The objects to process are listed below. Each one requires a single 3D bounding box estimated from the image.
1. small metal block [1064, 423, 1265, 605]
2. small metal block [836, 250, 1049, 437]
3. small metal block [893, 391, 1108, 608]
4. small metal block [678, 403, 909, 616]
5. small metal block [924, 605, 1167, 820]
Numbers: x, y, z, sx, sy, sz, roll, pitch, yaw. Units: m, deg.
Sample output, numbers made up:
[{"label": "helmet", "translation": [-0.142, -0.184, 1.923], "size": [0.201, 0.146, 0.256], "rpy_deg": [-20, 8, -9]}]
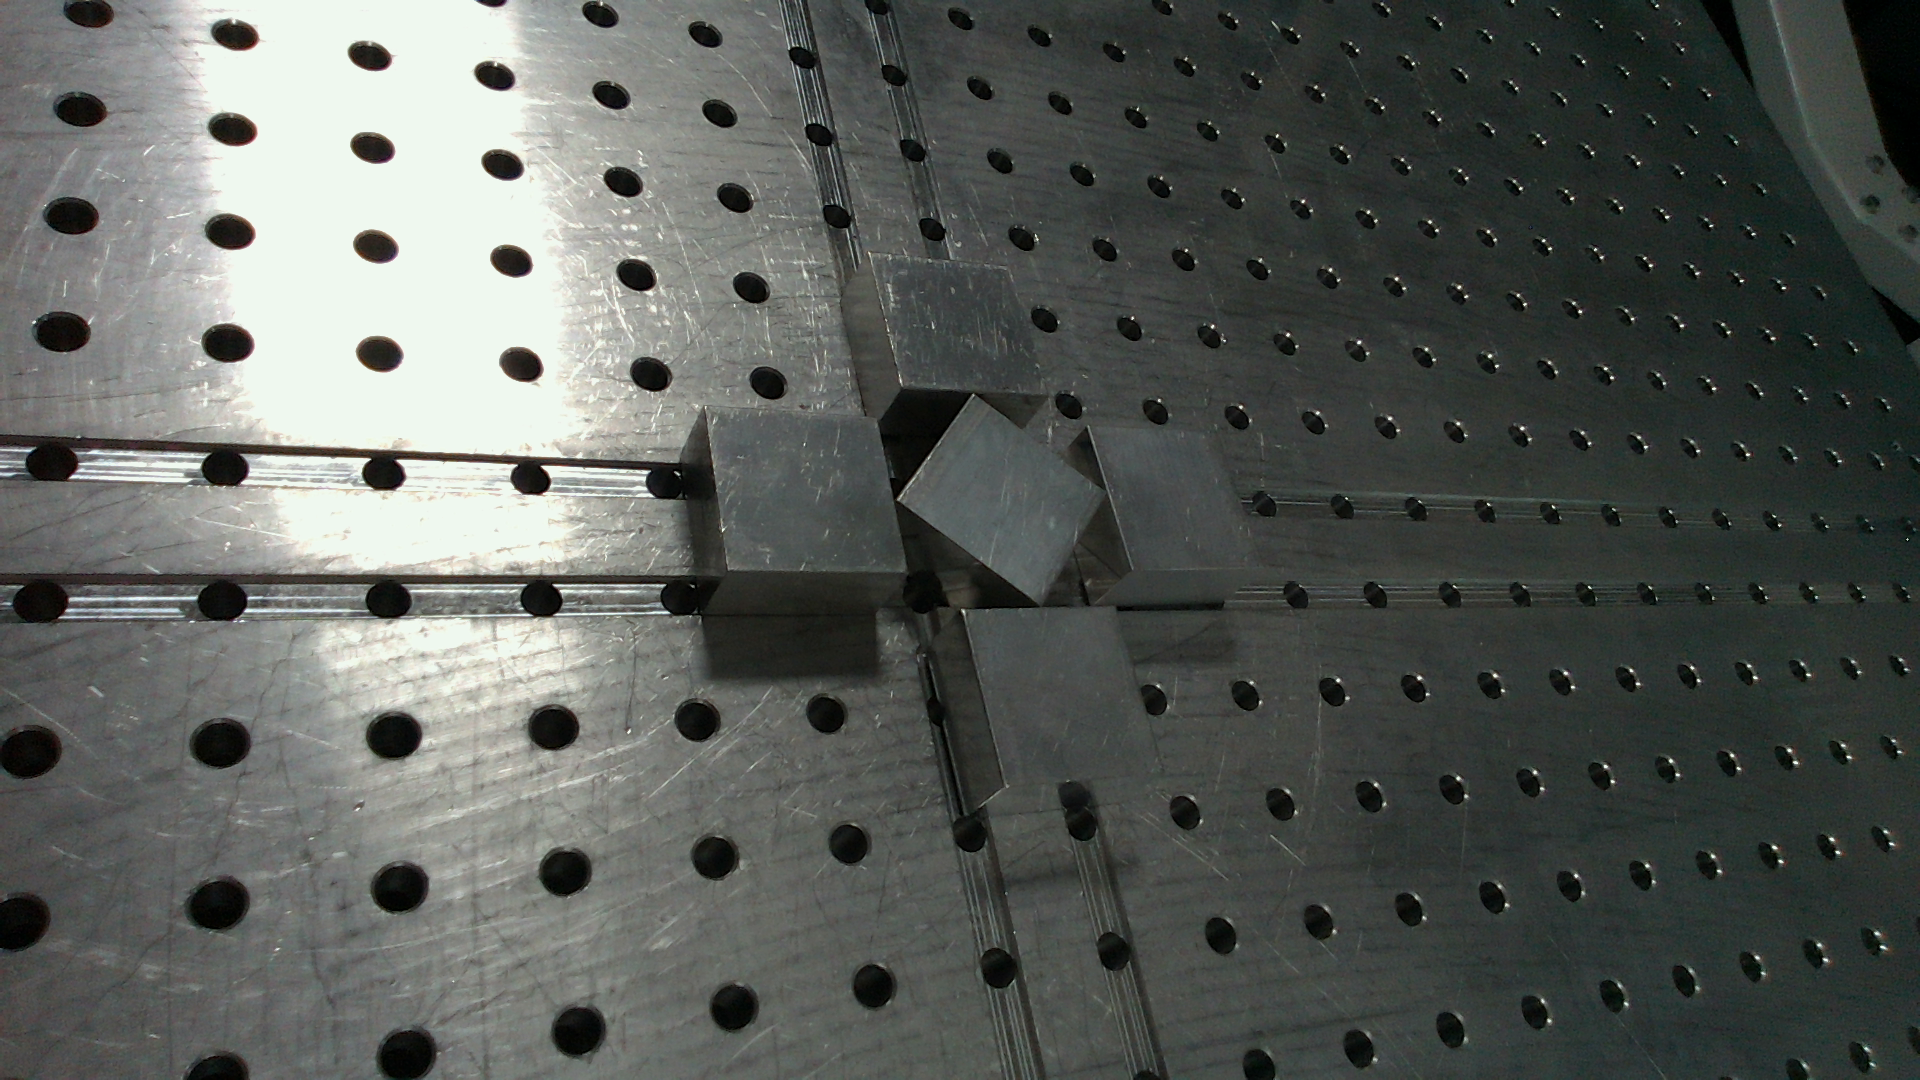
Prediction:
[{"label": "small metal block", "translation": [0.061, -0.008, 0.430], "size": [0.050, 0.025, 0.050], "rpy_deg": [0, 62, -28]}, {"label": "small metal block", "translation": [-0.006, -0.060, 0.426], "size": [0.050, 0.025, 0.050], "rpy_deg": [-1, 62, -28]}, {"label": "small metal block", "translation": [0.008, -0.007, 0.401], "size": [0.050, 0.025, 0.050], "rpy_deg": [36, 51, -4]}, {"label": "small metal block", "translation": [-0.046, -0.007, 0.372], "size": [0.050, 0.025, 0.050], "rpy_deg": [1, 61, -28]}, {"label": "small metal block", "translation": [0.023, 0.046, 0.376], "size": [0.050, 0.025, 0.050], "rpy_deg": [0, 61, -28]}]
